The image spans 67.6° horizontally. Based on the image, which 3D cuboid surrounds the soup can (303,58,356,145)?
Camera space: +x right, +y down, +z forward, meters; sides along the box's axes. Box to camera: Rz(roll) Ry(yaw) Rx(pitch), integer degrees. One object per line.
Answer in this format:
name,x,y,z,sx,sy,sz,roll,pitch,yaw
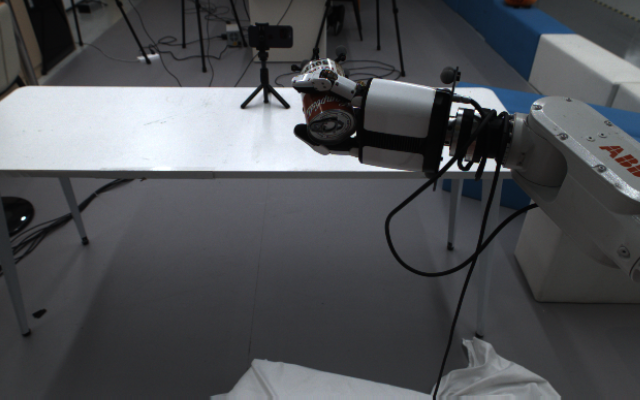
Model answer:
soup can,0.010,-0.136,0.665,0.067,0.067,0.101,-5,57,-10
